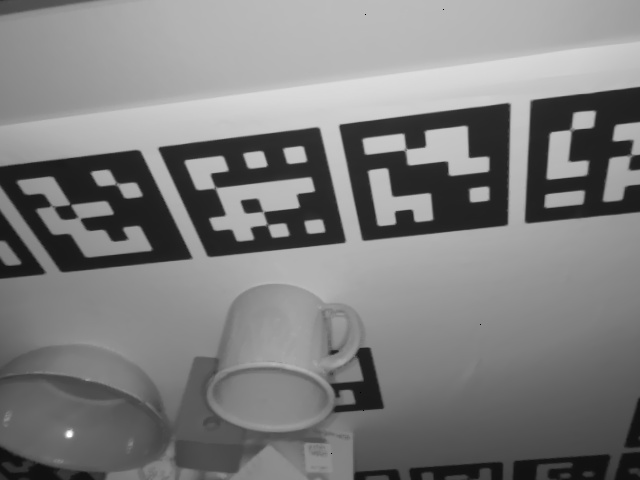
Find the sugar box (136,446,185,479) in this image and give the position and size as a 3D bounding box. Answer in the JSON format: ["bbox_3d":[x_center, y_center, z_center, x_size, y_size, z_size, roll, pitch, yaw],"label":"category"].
[{"bbox_3d":[-0.154,0.284,0.653,0.093,0.178,0.045,8,133,-6],"label":"sugar box"}]

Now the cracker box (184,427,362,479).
[{"bbox_3d":[-0.049,0.272,0.616,0.165,0.215,0.071,15,134,-11],"label":"cracker box"}]

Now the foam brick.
[{"bbox_3d":[-0.083,0.152,0.604,0.053,0.079,0.051,3,134,-2],"label":"foam brick"}]

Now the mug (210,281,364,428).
[{"bbox_3d":[-0.023,0.082,0.523,0.116,0.082,0.093,-16,139,13],"label":"mug"}]

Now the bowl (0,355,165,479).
[{"bbox_3d":[-0.210,0.149,0.598,0.162,0.055,0.160,0,132,1],"label":"bowl"}]
